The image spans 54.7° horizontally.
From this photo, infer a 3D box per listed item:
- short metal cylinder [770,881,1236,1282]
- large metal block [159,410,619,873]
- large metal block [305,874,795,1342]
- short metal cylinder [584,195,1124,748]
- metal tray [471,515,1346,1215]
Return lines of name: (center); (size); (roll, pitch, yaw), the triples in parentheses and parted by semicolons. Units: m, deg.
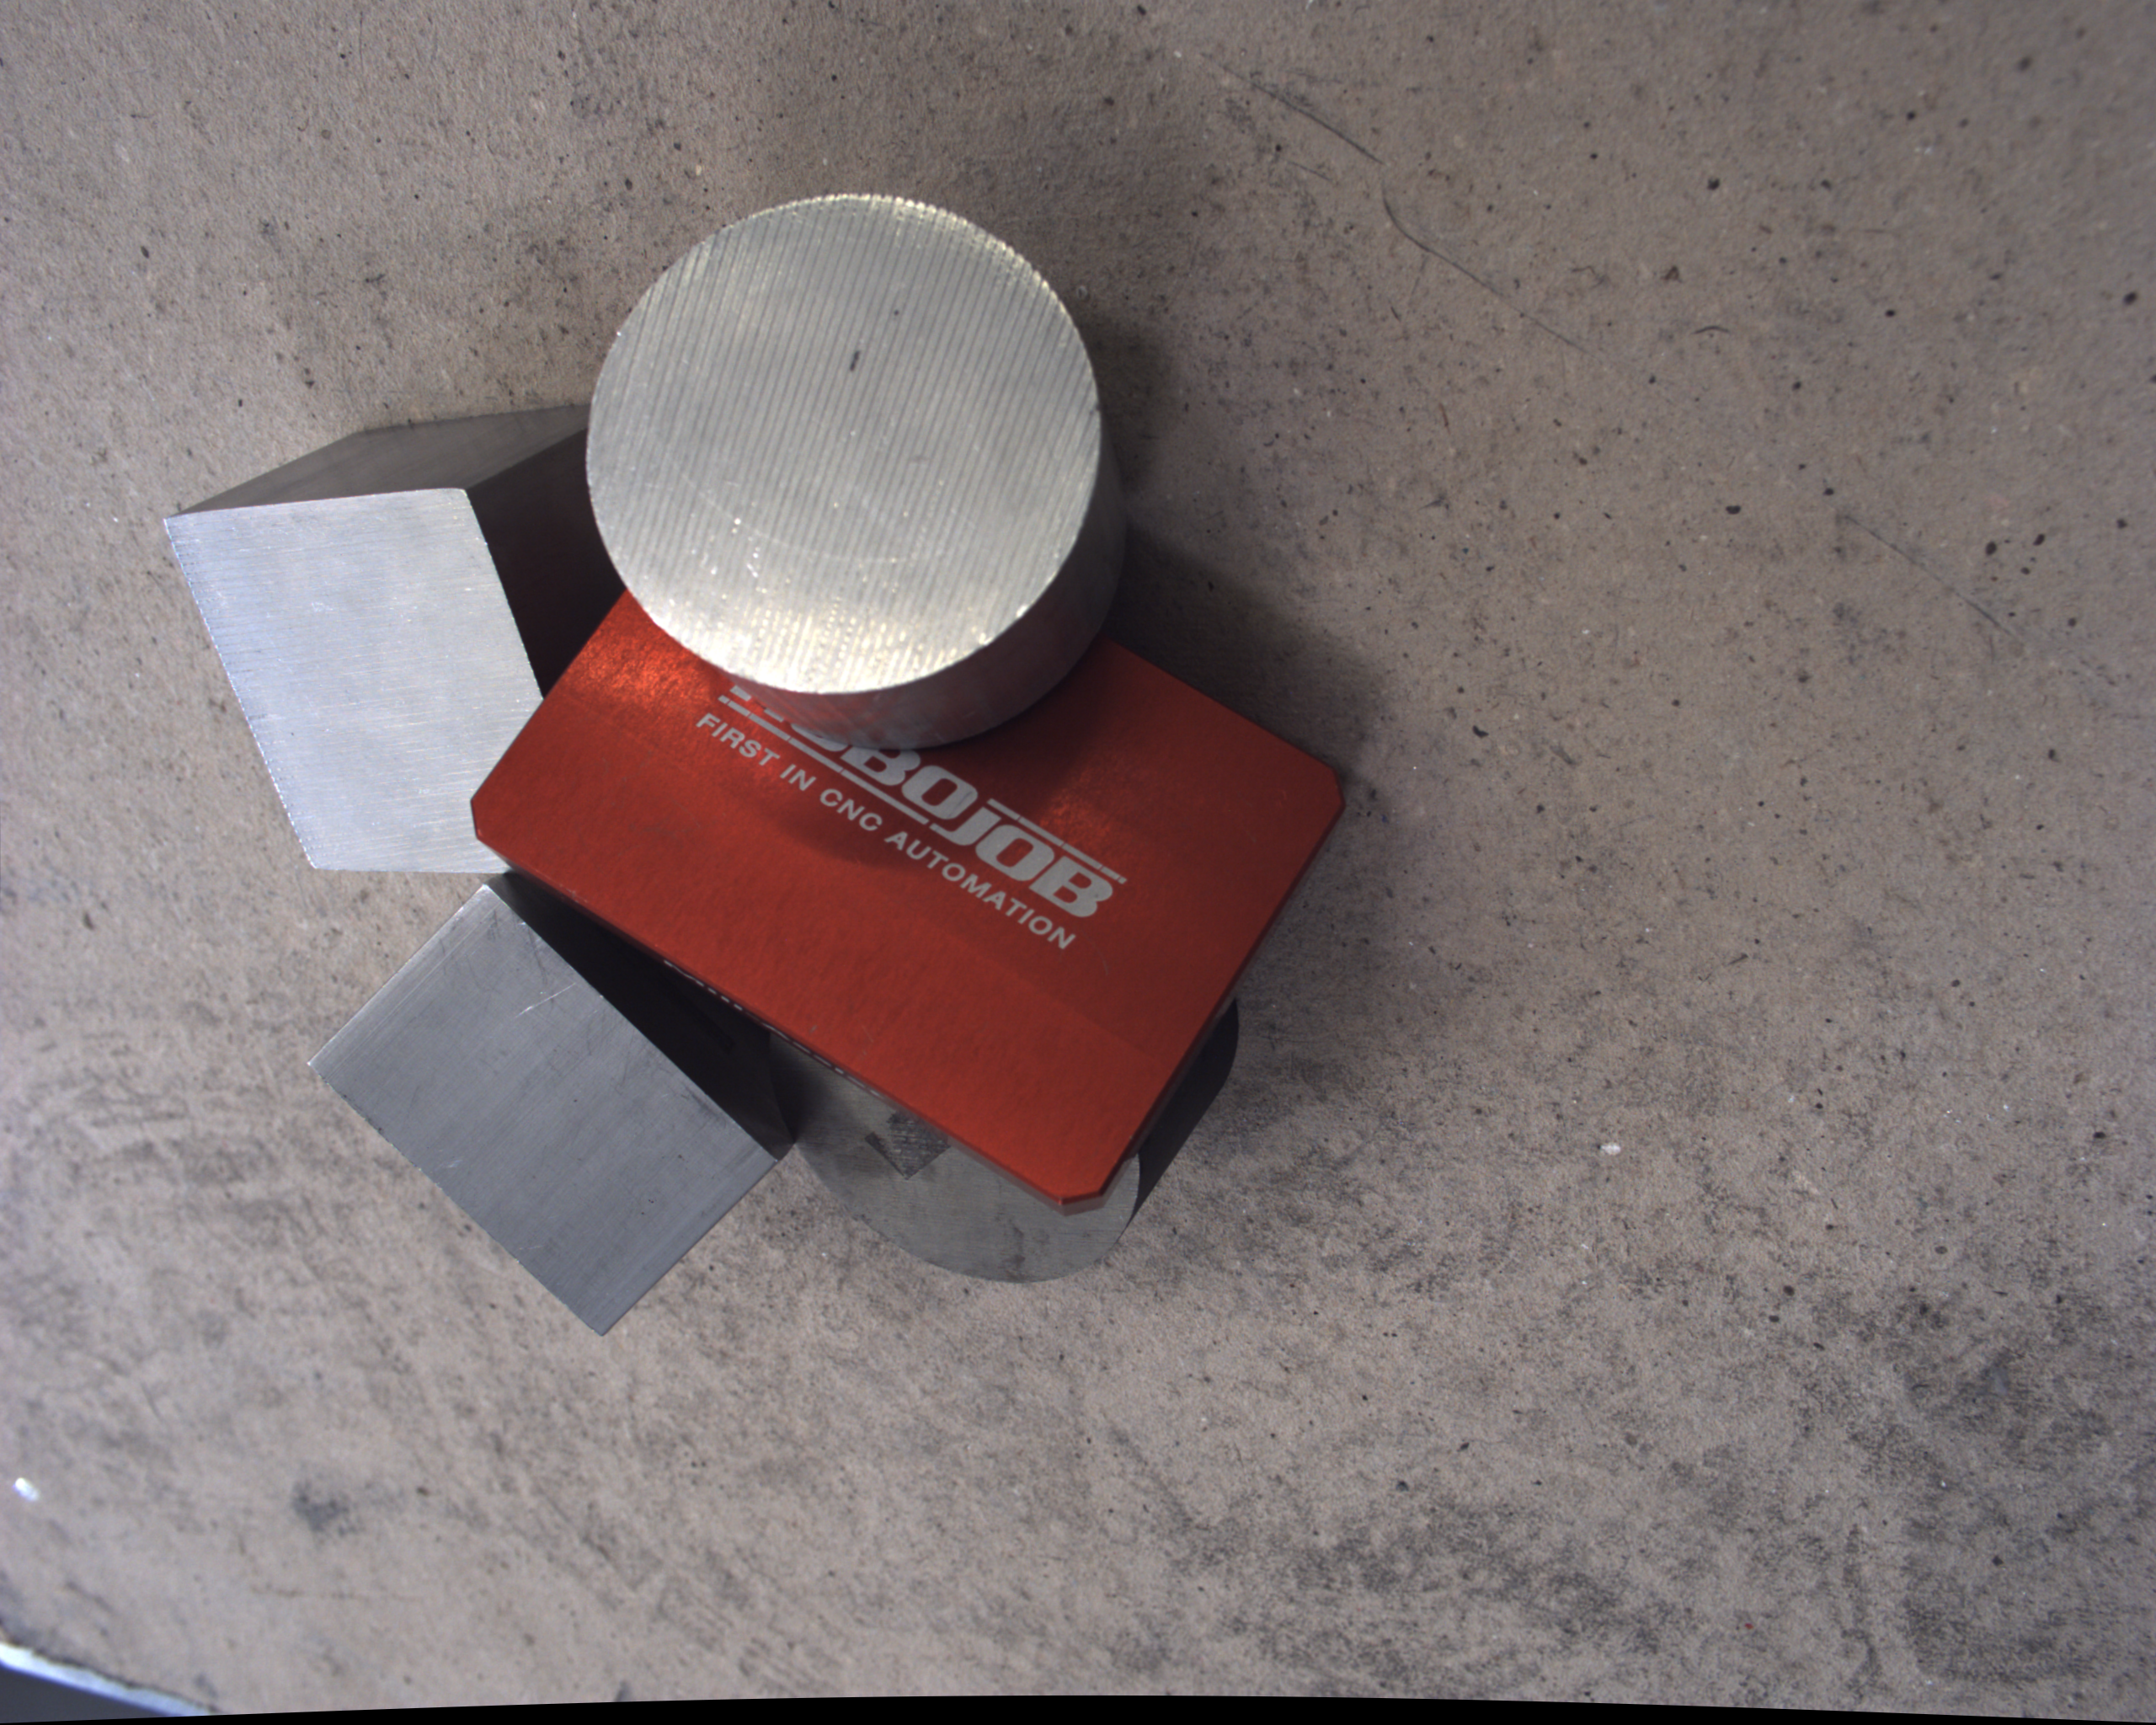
short metal cylinder: (-0.015, 0.038, 0.424); (0.080, 0.050, 0.079); (13, 124, 21)
large metal block: (-0.126, -0.045, 0.428); (0.080, 0.050, 0.080); (1, 119, 27)
large metal block: (-0.104, 0.046, 0.447); (0.080, 0.080, 0.050); (44, 93, -3)
short metal cylinder: (-0.034, -0.062, 0.346); (0.080, 0.050, 0.080); (-1, 84, 5)
metal tray: (-0.030, -0.007, 0.379); (0.130, 0.090, 0.030); (31, 168, 8)
